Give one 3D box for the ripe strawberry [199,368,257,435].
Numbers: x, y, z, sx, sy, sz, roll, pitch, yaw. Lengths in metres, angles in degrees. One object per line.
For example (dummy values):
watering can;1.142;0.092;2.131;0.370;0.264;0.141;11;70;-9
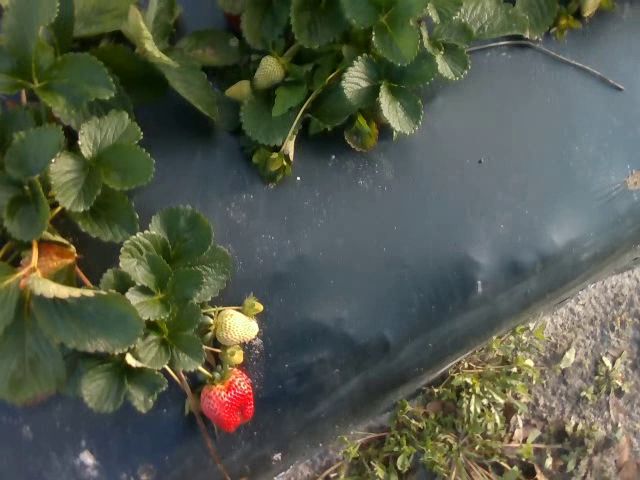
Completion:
ripe strawberry;-0.075;0.141;0.498;0.047;0.050;0.034;-26;16;-12
